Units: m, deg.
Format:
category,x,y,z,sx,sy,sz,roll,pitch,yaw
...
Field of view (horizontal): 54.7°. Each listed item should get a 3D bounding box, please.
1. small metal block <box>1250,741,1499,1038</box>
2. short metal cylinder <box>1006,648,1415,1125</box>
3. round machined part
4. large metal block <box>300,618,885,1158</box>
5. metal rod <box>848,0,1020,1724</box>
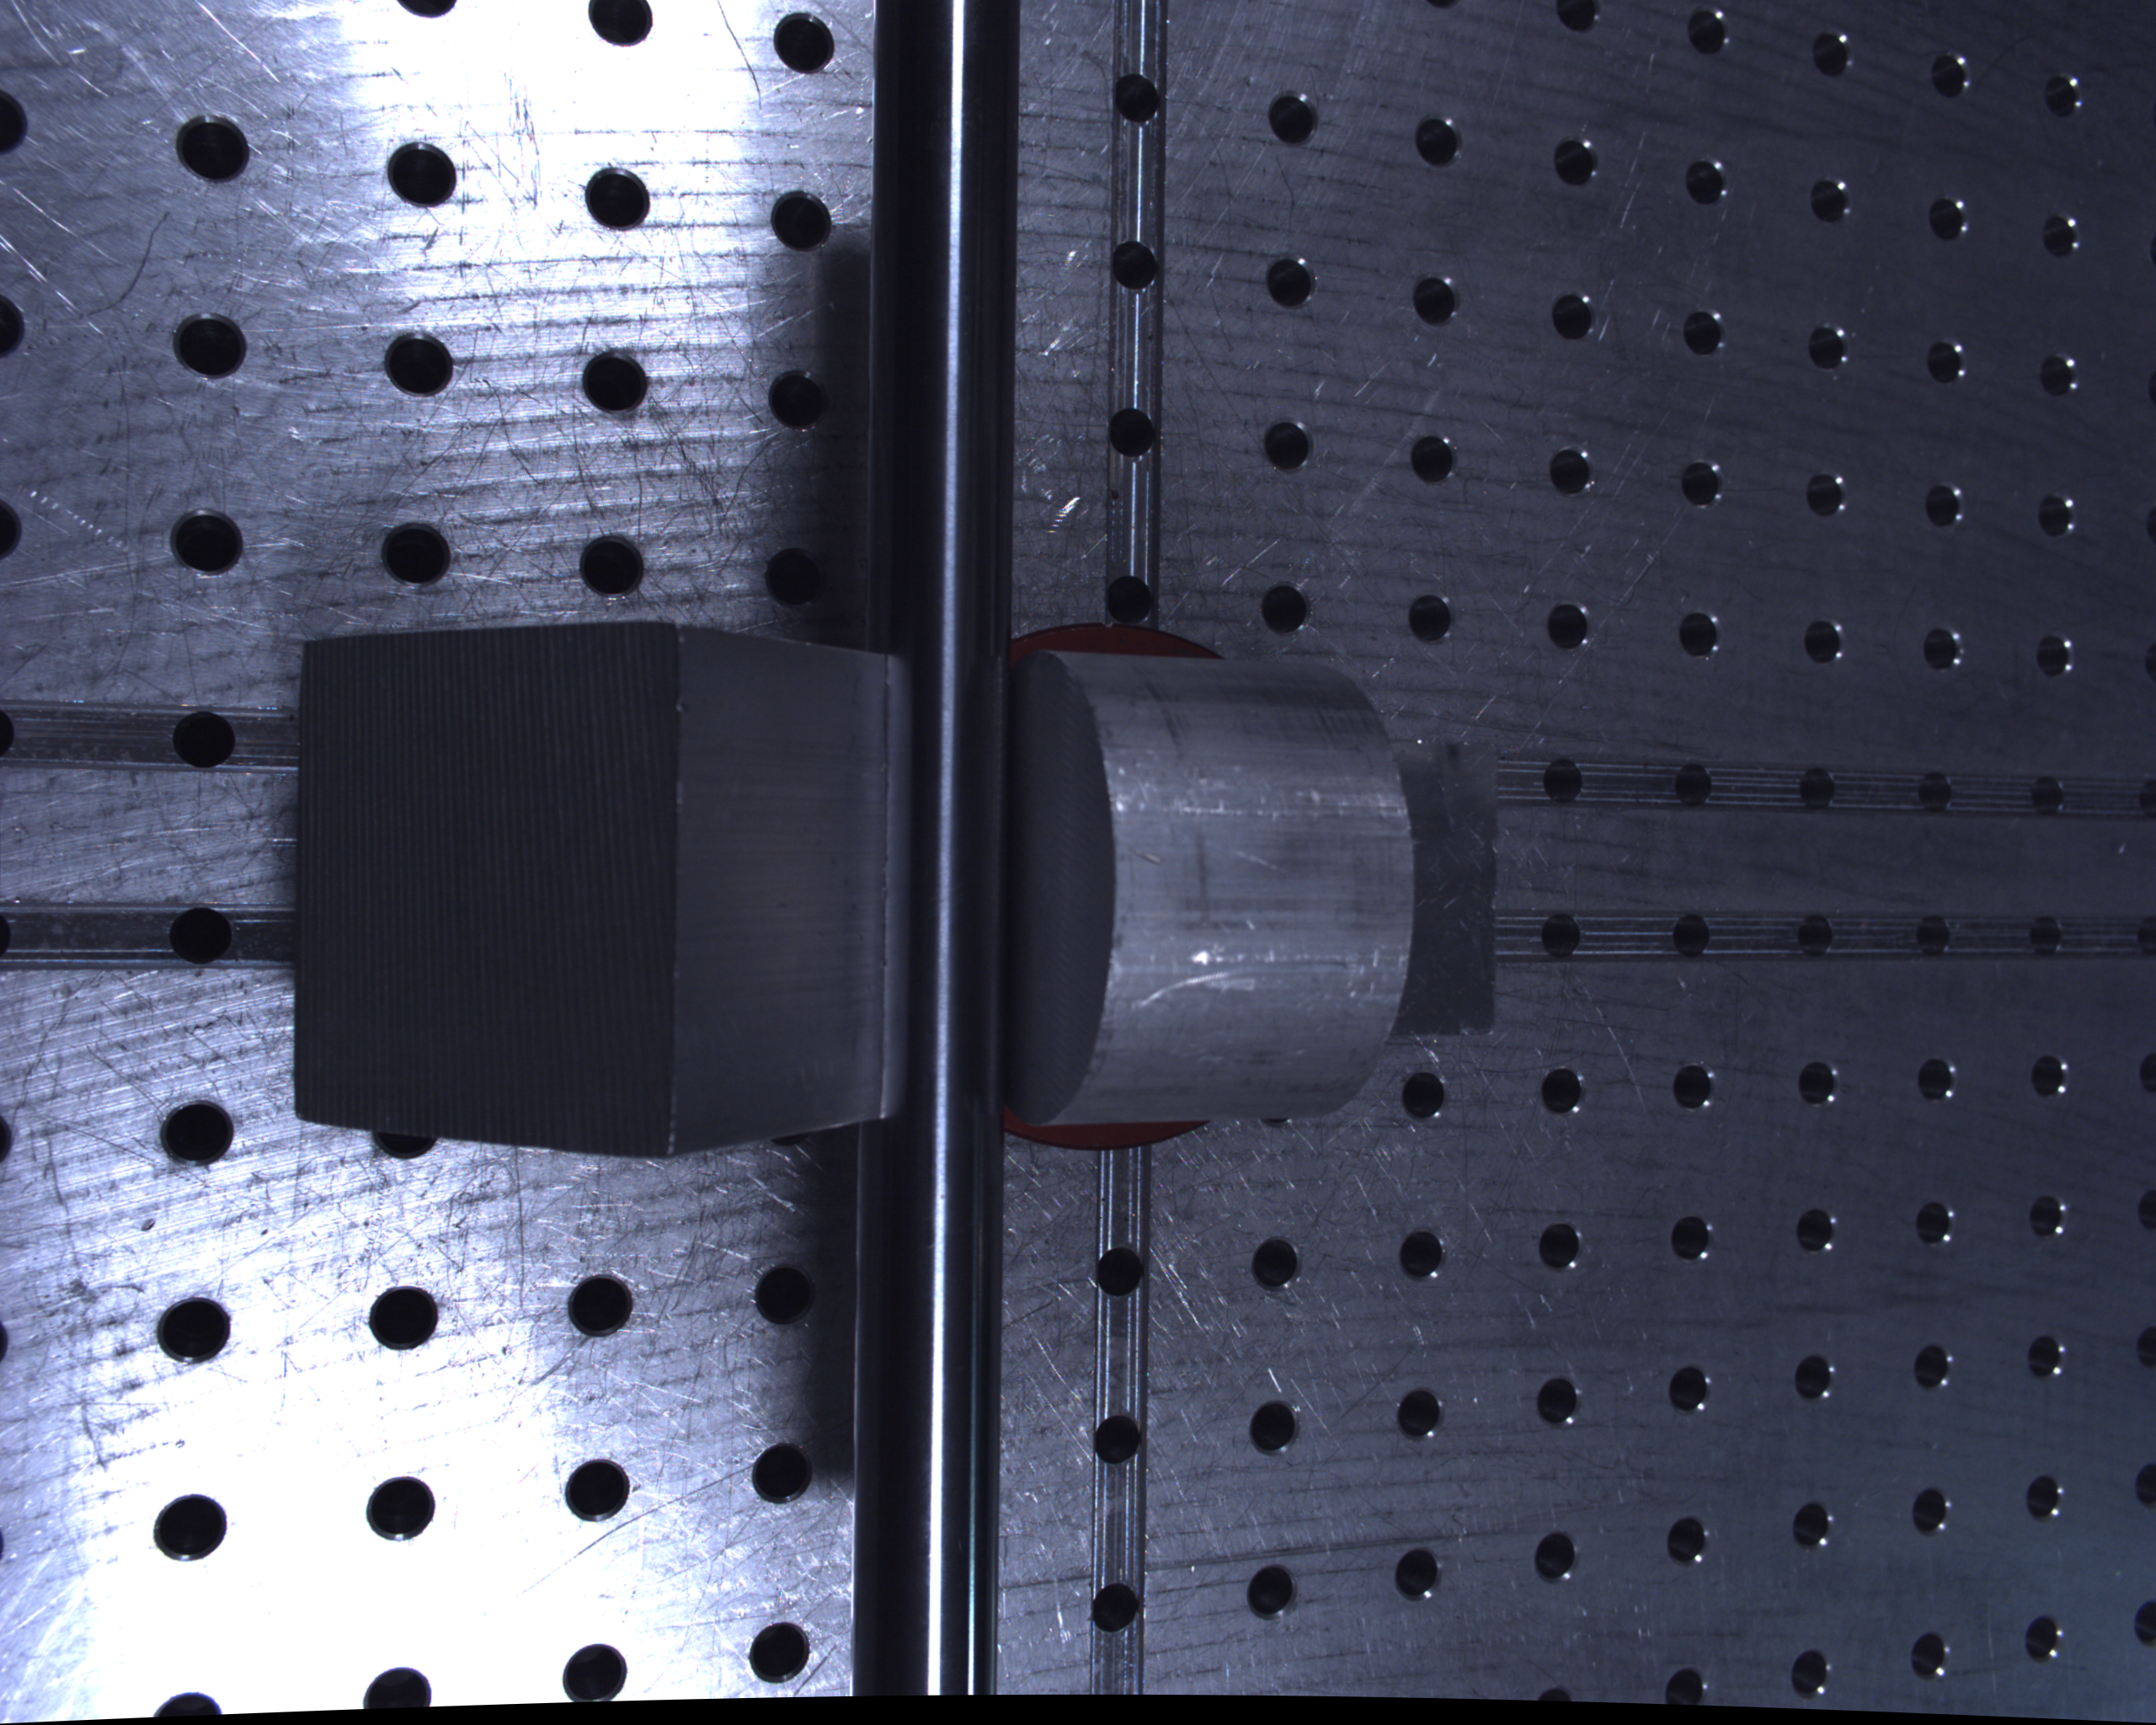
category,x,y,z,sx,sy,sz,roll,pitch,yaw
small metal block,0.051,0.004,0.374,0.025,0.050,0.050,1,90,-20
short metal cylinder,0.016,0.004,0.358,0.050,0.080,0.079,1,90,-20
round machined part,0.000,0.004,0.403,0.099,0.042,0.097,0,90,-21
large metal block,-0.081,0.003,0.348,0.050,0.080,0.079,1,90,-62
metal rod,-0.025,-0.003,0.360,0.025,0.025,0.298,1,90,-20
